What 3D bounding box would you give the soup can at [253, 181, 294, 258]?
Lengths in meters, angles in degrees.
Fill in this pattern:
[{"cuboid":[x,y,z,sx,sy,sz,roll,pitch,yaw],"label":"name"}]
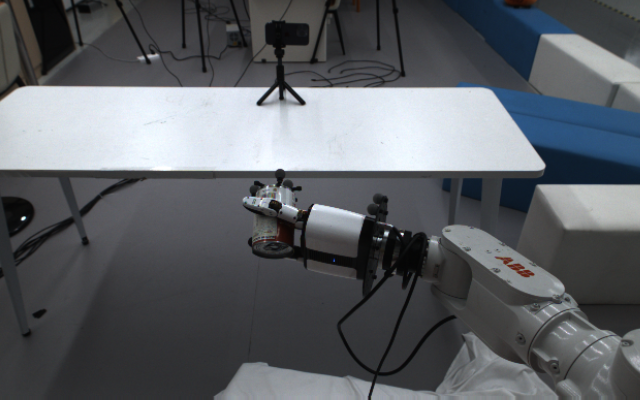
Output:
[{"cuboid":[-0.072,0.036,0.772,0.067,0.067,0.101,1,61,-2],"label":"soup can"}]
